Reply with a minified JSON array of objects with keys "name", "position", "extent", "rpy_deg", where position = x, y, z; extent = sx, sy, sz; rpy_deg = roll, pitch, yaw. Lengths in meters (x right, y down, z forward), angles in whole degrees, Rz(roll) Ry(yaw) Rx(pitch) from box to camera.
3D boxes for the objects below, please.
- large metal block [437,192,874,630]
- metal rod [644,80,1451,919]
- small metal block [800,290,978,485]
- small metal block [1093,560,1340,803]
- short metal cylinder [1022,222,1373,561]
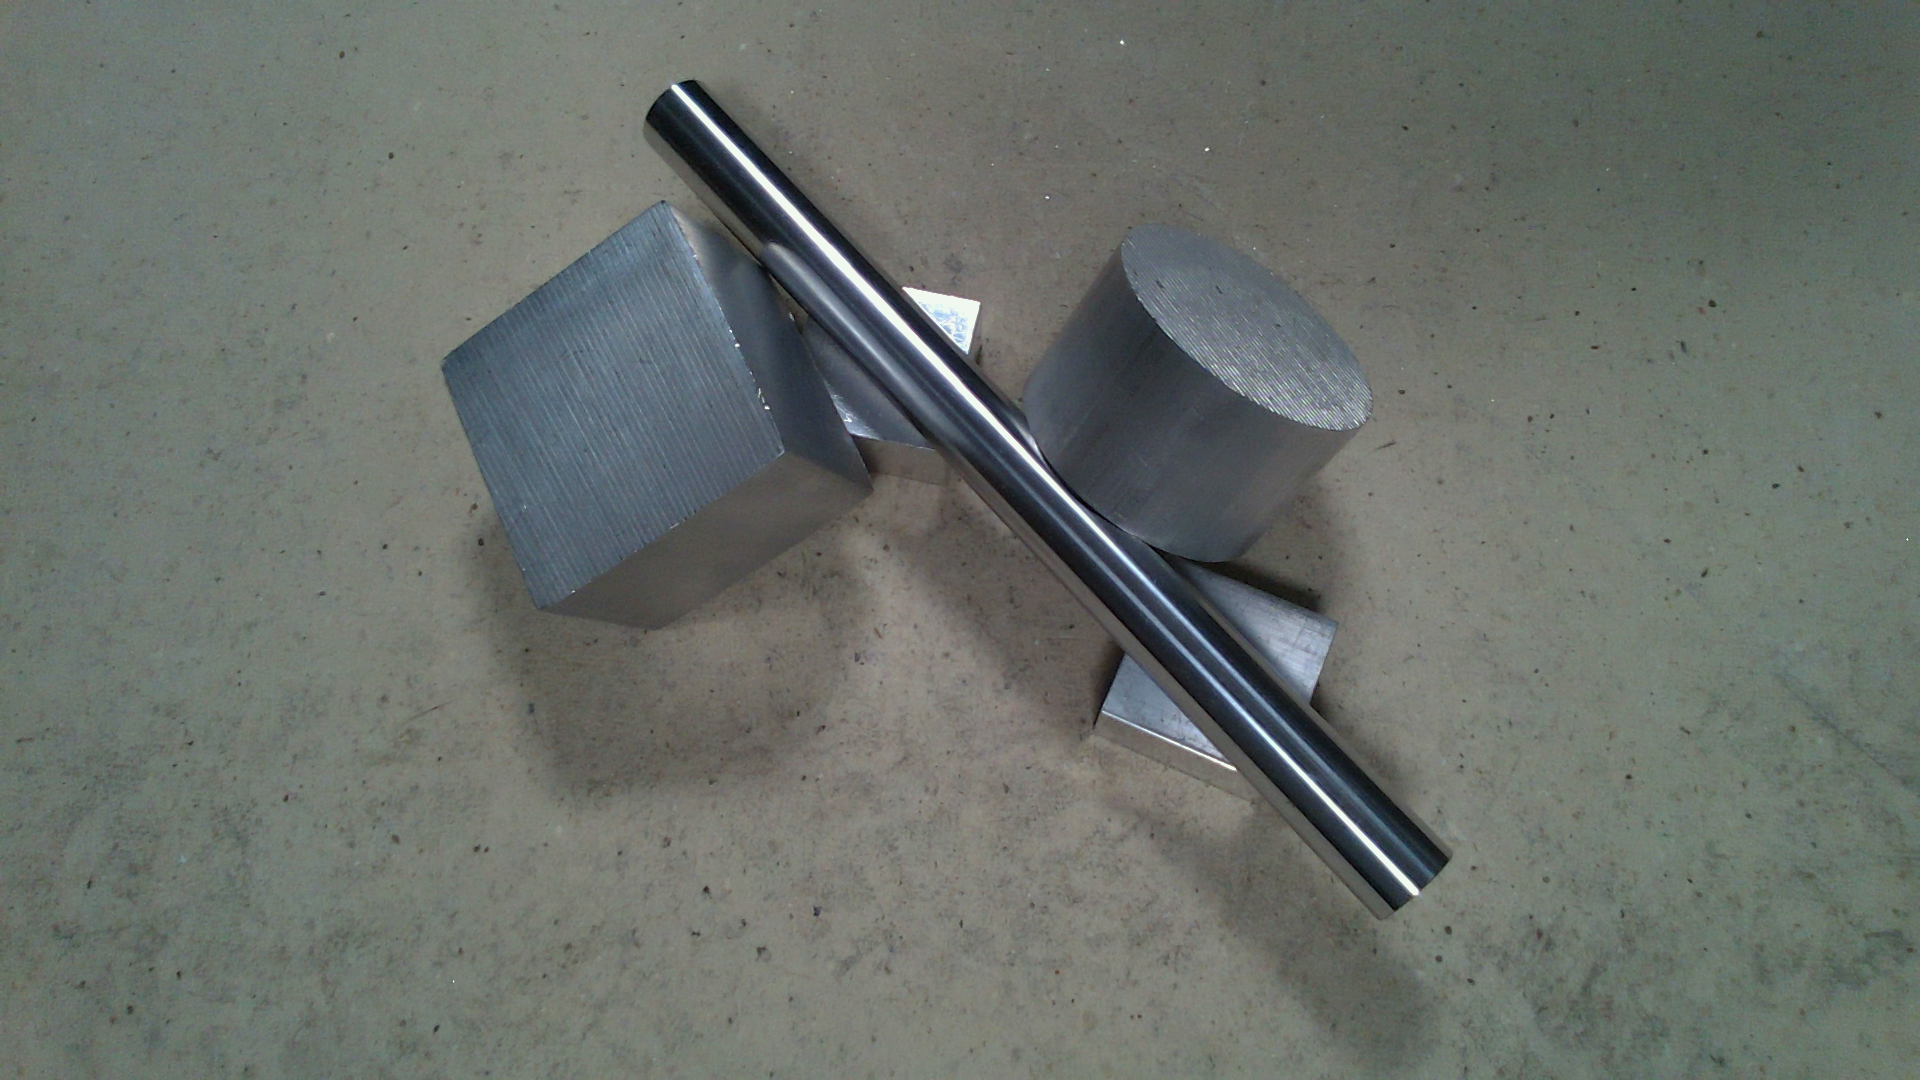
[{"name":"large metal block","position":[-0.083,-0.032,0.376],"extent":[0.080,0.050,0.080],"rpy_deg":[-31,72,14]},{"name":"metal rod","position":[0.013,-0.022,0.376],"extent":[0.025,0.025,0.300],"rpy_deg":[-39,75,-13]},{"name":"small metal block","position":[-0.024,-0.048,0.413],"extent":[0.050,0.025,0.050],"rpy_deg":[11,70,4]},{"name":"small metal block","position":[0.070,0.038,0.381],"extent":[0.050,0.025,0.050],"rpy_deg":[23,72,8]},{"name":"short metal cylinder","position":[0.064,-0.041,0.375],"extent":[0.080,0.050,0.080],"rpy_deg":[23,37,-18]}]
